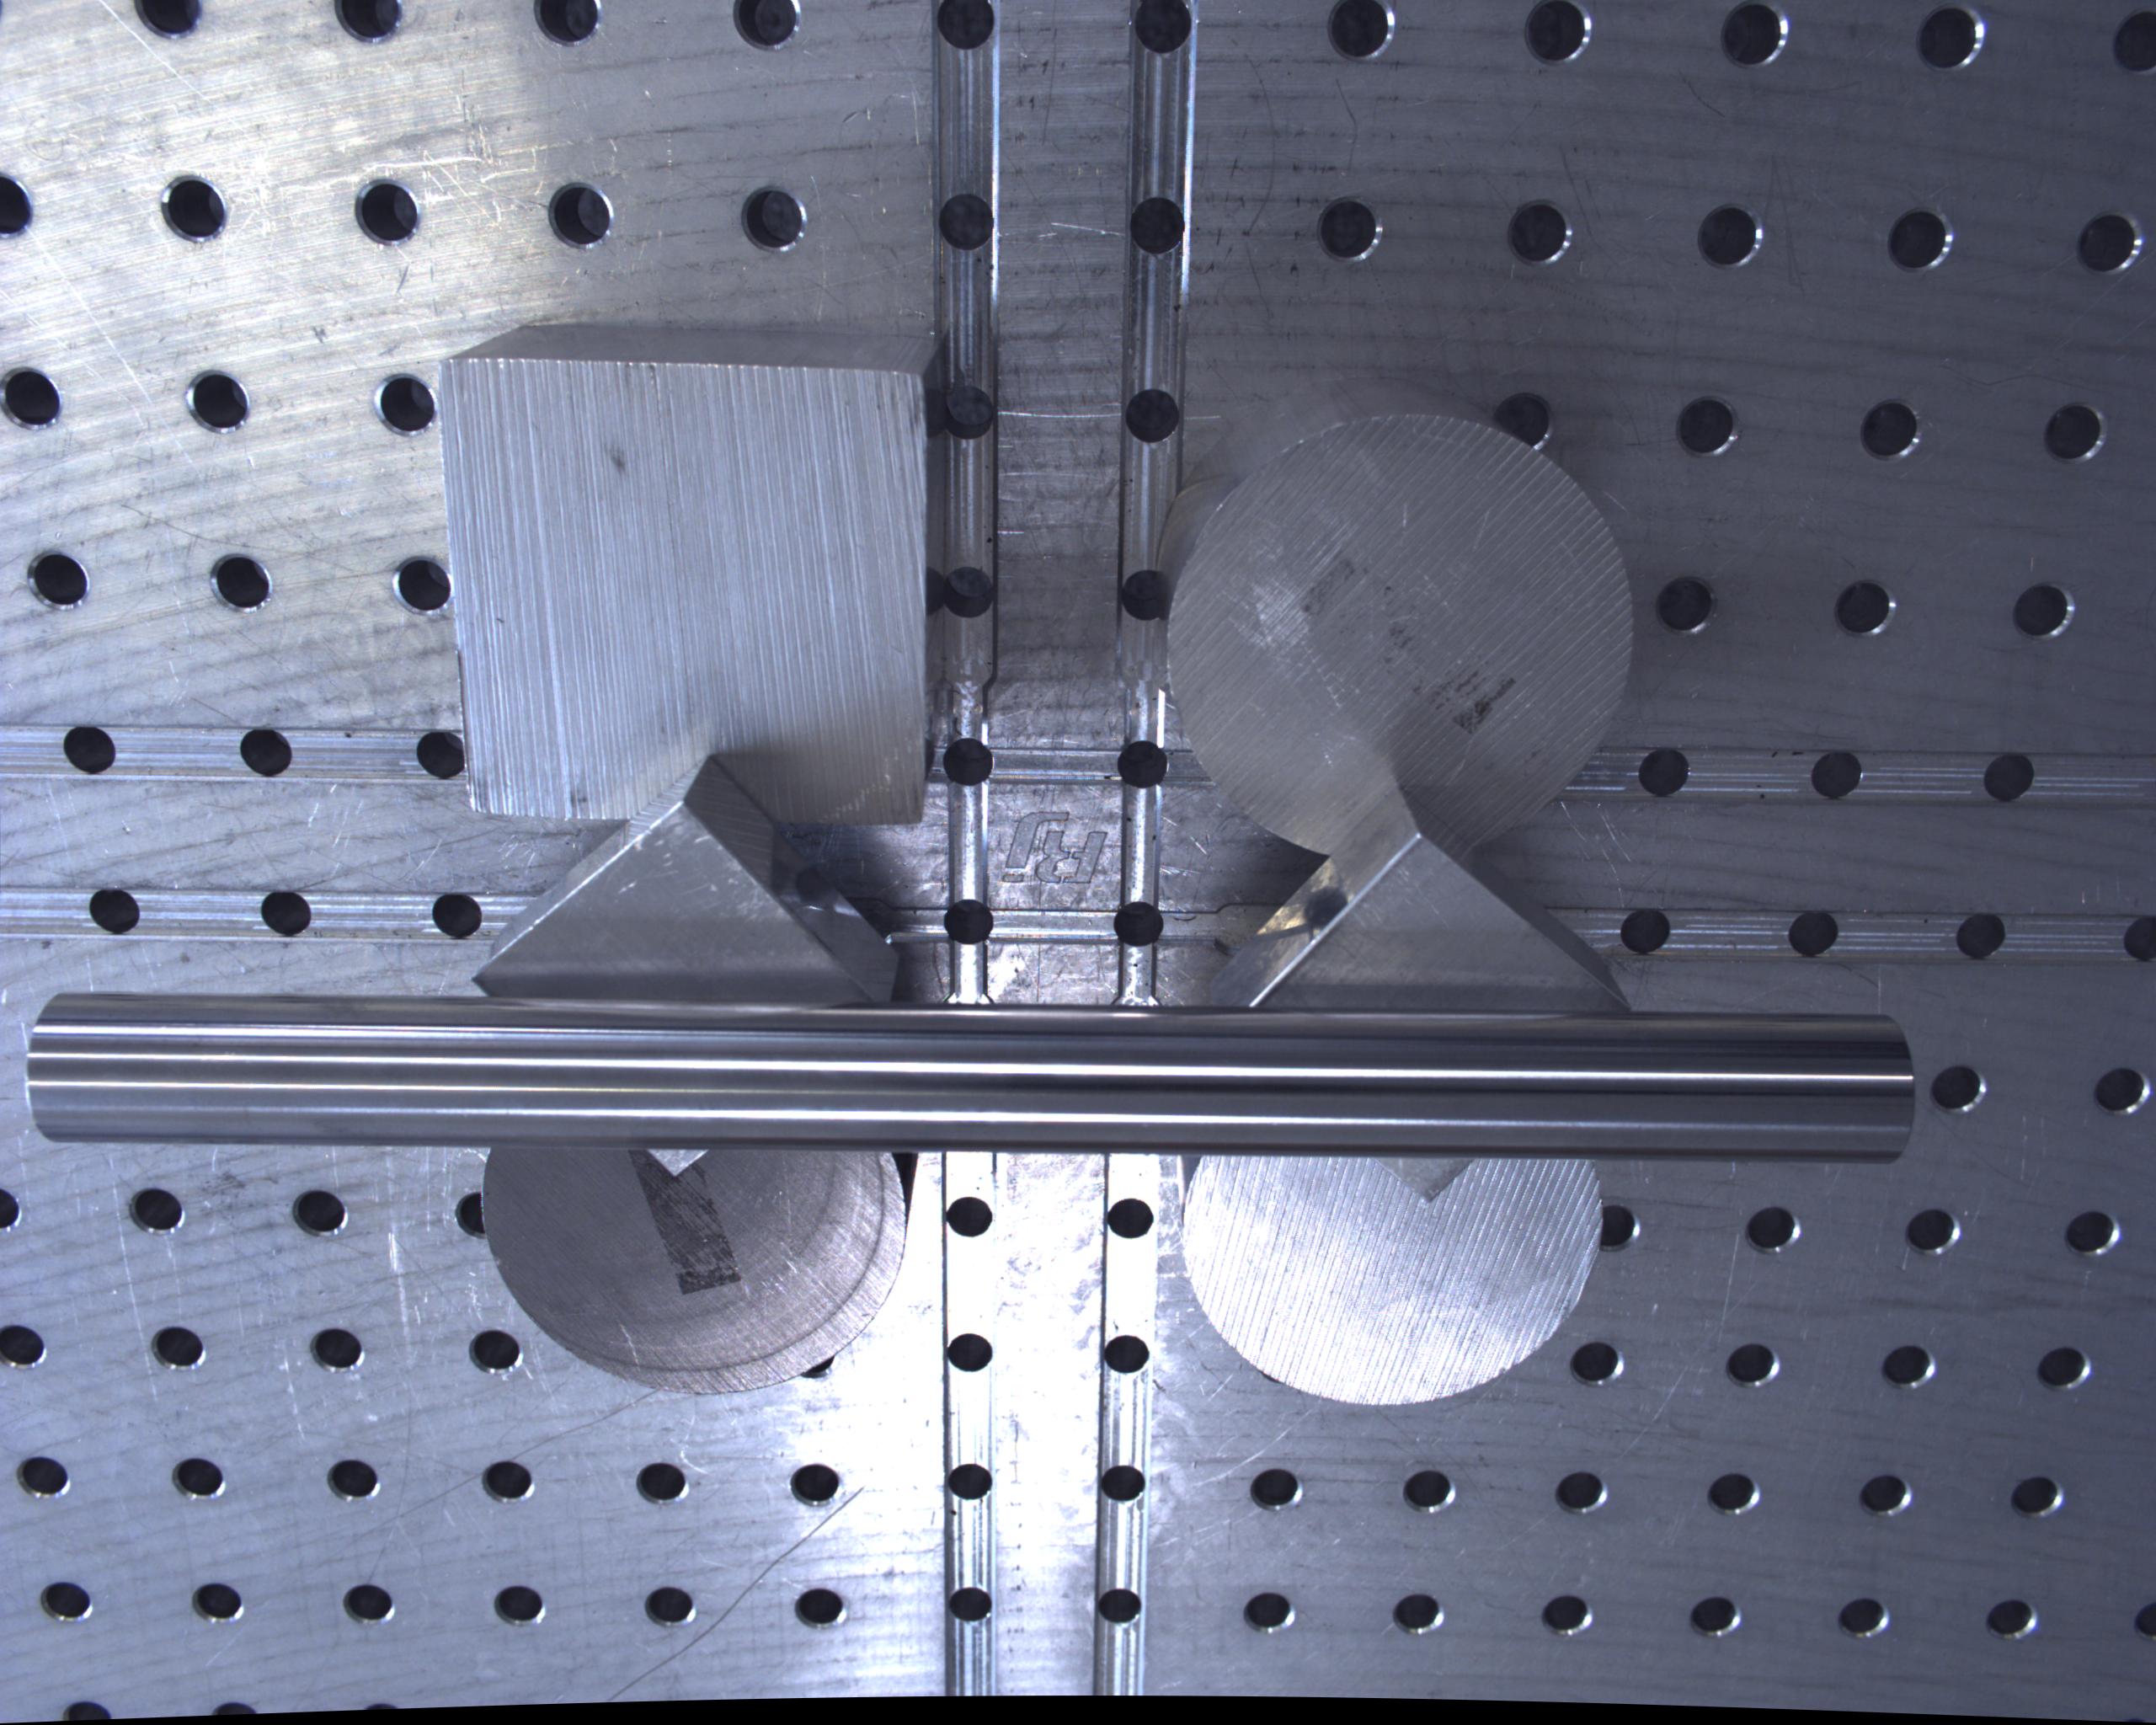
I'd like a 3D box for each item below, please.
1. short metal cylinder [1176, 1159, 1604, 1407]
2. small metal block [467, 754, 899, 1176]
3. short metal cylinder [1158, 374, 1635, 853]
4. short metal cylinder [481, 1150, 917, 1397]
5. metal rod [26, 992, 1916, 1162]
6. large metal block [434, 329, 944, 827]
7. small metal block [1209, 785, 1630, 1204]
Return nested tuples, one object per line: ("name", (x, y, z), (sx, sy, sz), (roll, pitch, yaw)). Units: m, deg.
("short metal cylinder", (0.061, 0.062, 0.423), (0.081, 0.050, 0.079), (0, 110, 0))
("small metal block", (-0.068, 0.018, 0.366), (0.050, 0.025, 0.050), (-38, 106, 13))
("short metal cylinder", (0.056, -0.046, 0.383), (0.081, 0.050, 0.079), (0, 110, 0))
("short metal cylinder", (-0.073, 0.059, 0.420), (0.081, 0.050, 0.079), (0, 110, 0))
("metal rod", (-0.016, 0.036, 0.346), (0.302, 0.025, 0.025), (1, 110, -1))
("large metal block", (-0.066, -0.053, 0.379), (0.081, 0.050, 0.079), (1, 110, -1))
("small metal block", (0.059, 0.023, 0.369), (0.050, 0.025, 0.050), (39, 105, -13))
